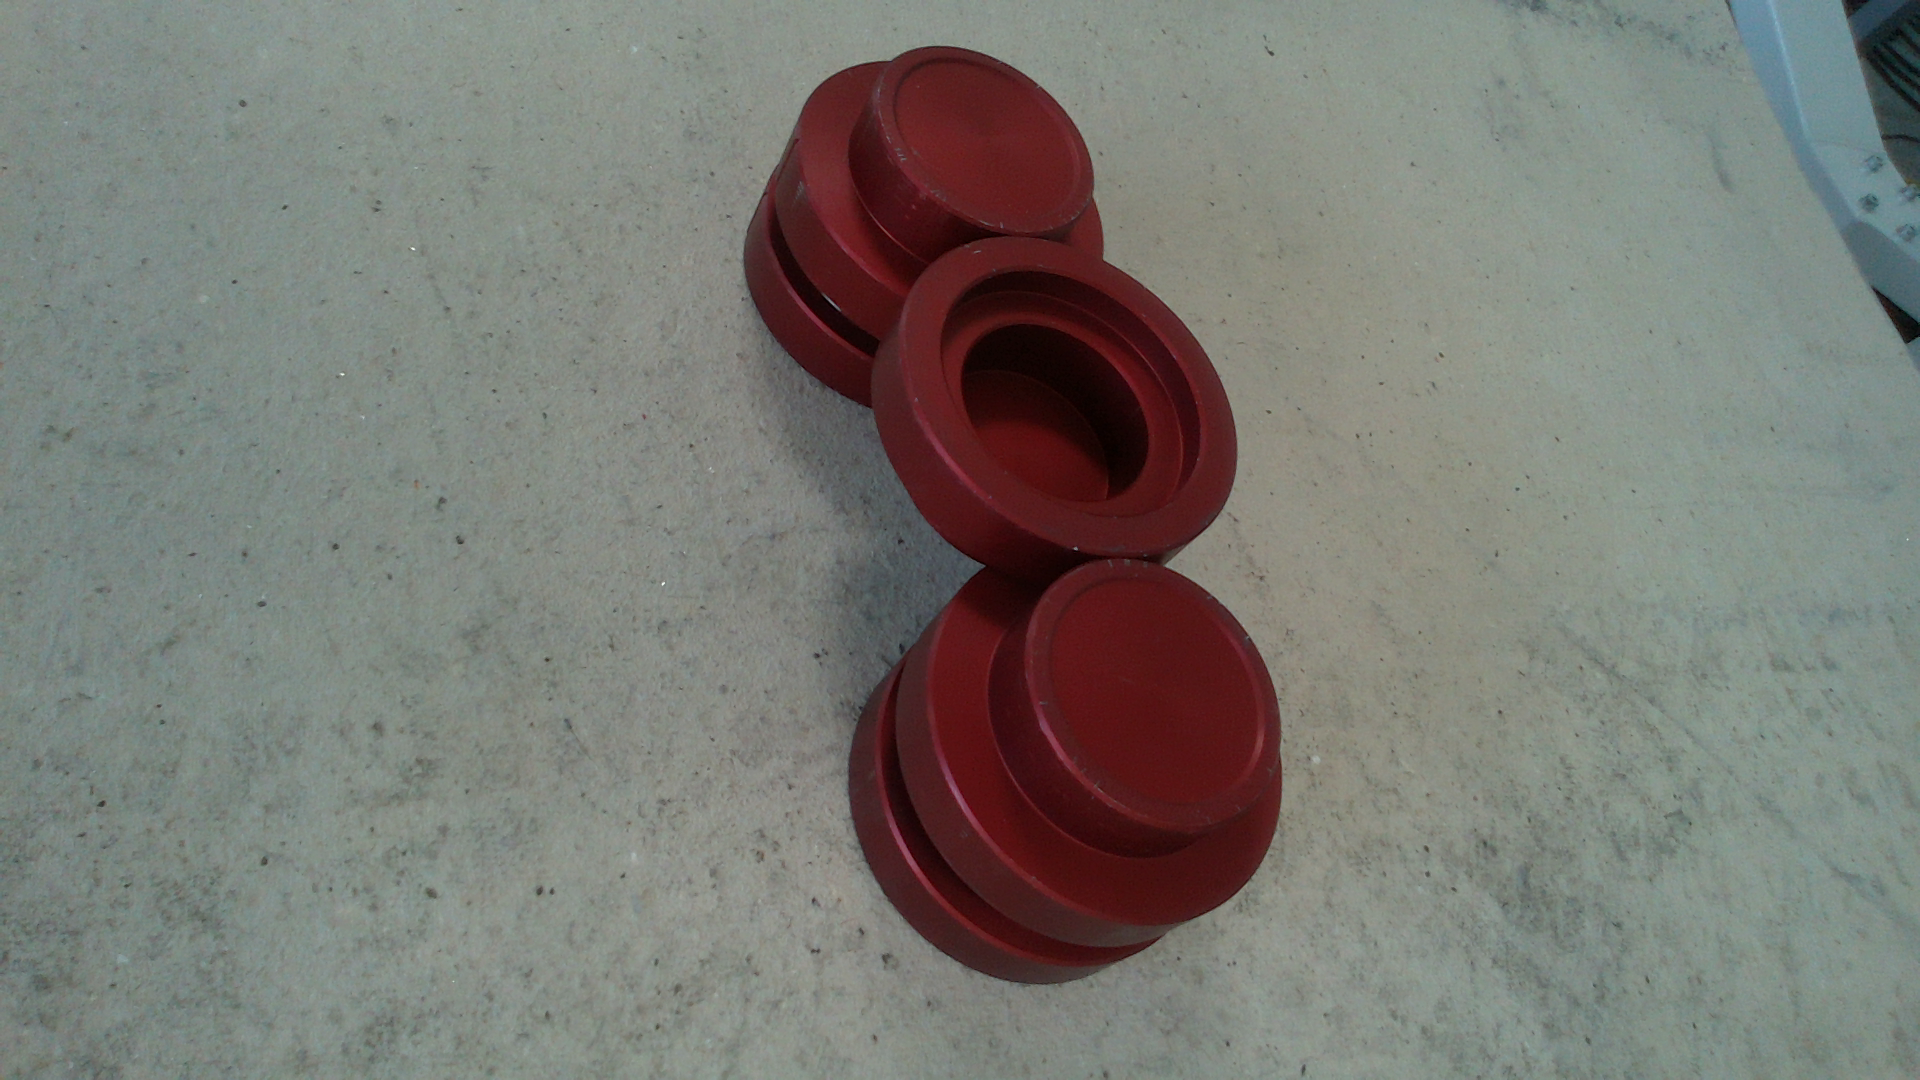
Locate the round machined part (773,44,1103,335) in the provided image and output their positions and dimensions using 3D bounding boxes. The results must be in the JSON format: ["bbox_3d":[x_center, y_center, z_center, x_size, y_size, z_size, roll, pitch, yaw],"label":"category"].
[{"bbox_3d":[-0.001,-0.103,0.400,0.098,0.042,0.098,13,57,-20],"label":"round machined part"}]

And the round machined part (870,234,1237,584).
[{"bbox_3d":[0.021,-0.030,0.368,0.098,0.042,0.098,14,56,-21],"label":"round machined part"}]

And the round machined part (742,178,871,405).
[{"bbox_3d":[-0.014,-0.090,0.426,0.098,0.042,0.098,12,57,-20],"label":"round machined part"}]

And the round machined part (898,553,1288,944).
[{"bbox_3d":[0.038,0.043,0.330,0.098,0.042,0.098,13,57,-20],"label":"round machined part"}]

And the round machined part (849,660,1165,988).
[{"bbox_3d":[0.024,0.061,0.356,0.098,0.042,0.098,13,55,-20],"label":"round machined part"}]
